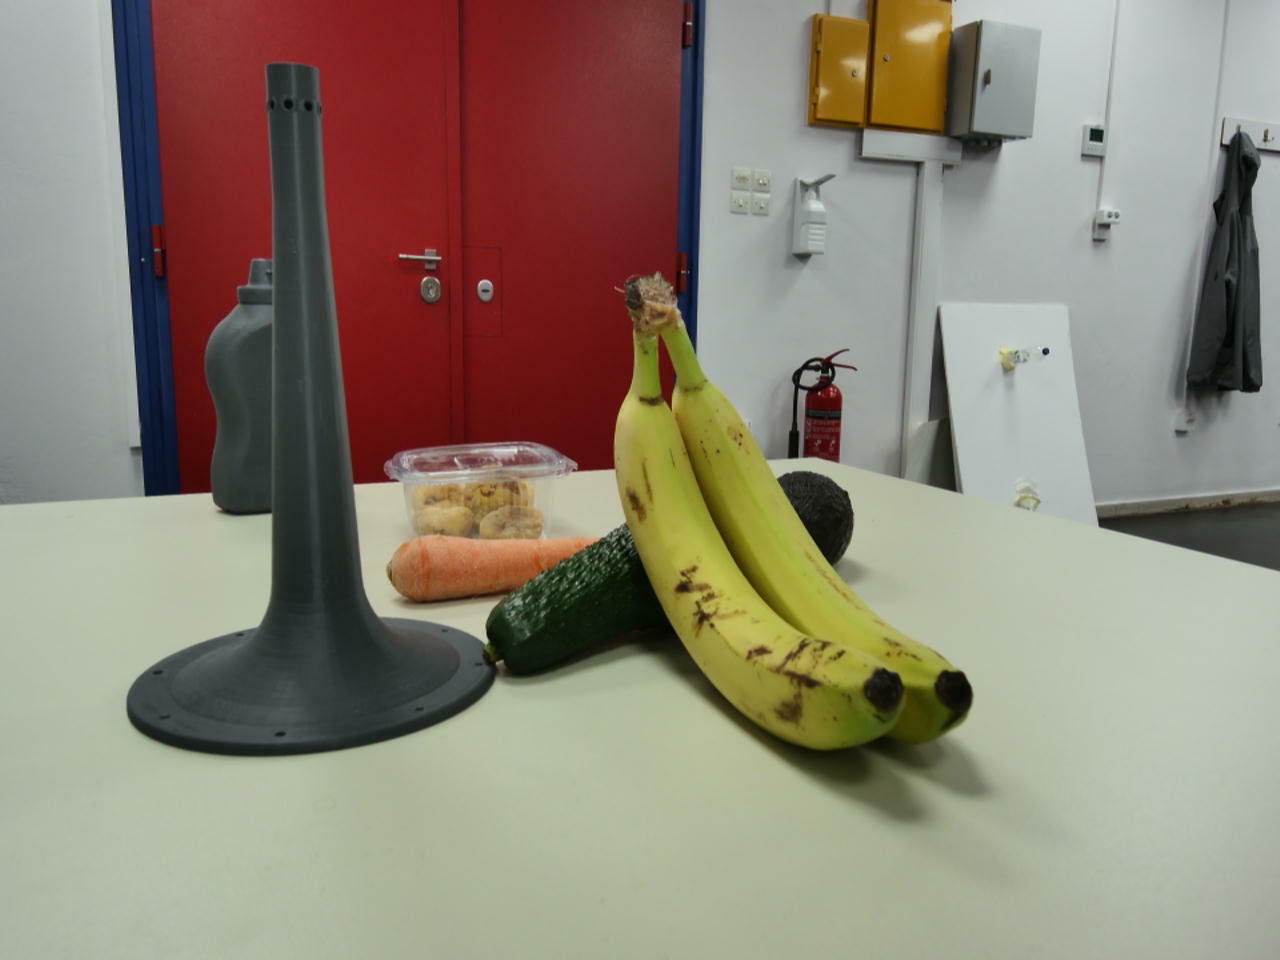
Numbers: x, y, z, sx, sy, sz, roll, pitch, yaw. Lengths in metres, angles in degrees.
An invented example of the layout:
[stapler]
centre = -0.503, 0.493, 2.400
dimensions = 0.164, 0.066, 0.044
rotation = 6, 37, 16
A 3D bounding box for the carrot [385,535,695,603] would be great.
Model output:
[carrot]
centre = -0.055, 0.048, 0.613
dimensions = 0.196, 0.041, 0.039
rotation = -4, 9, -24
